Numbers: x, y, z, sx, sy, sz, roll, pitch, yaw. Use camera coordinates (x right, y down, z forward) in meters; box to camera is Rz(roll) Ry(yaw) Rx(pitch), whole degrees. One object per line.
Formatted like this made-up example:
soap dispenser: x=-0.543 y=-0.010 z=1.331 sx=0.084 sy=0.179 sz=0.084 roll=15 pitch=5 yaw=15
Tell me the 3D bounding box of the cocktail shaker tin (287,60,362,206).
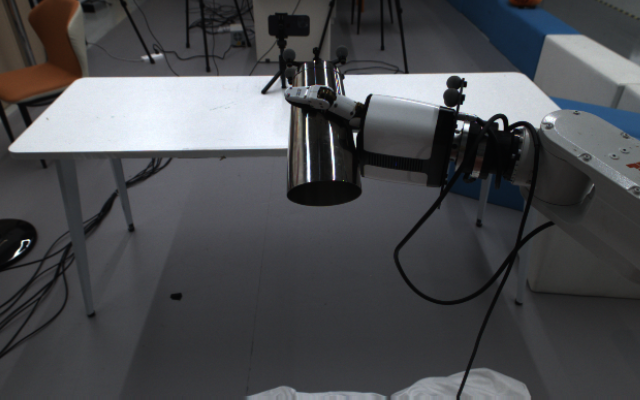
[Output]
cocktail shaker tin: x=0.001 y=-0.087 z=0.615 sx=0.093 sy=0.093 sz=0.170 roll=-2 pitch=71 yaw=-6
